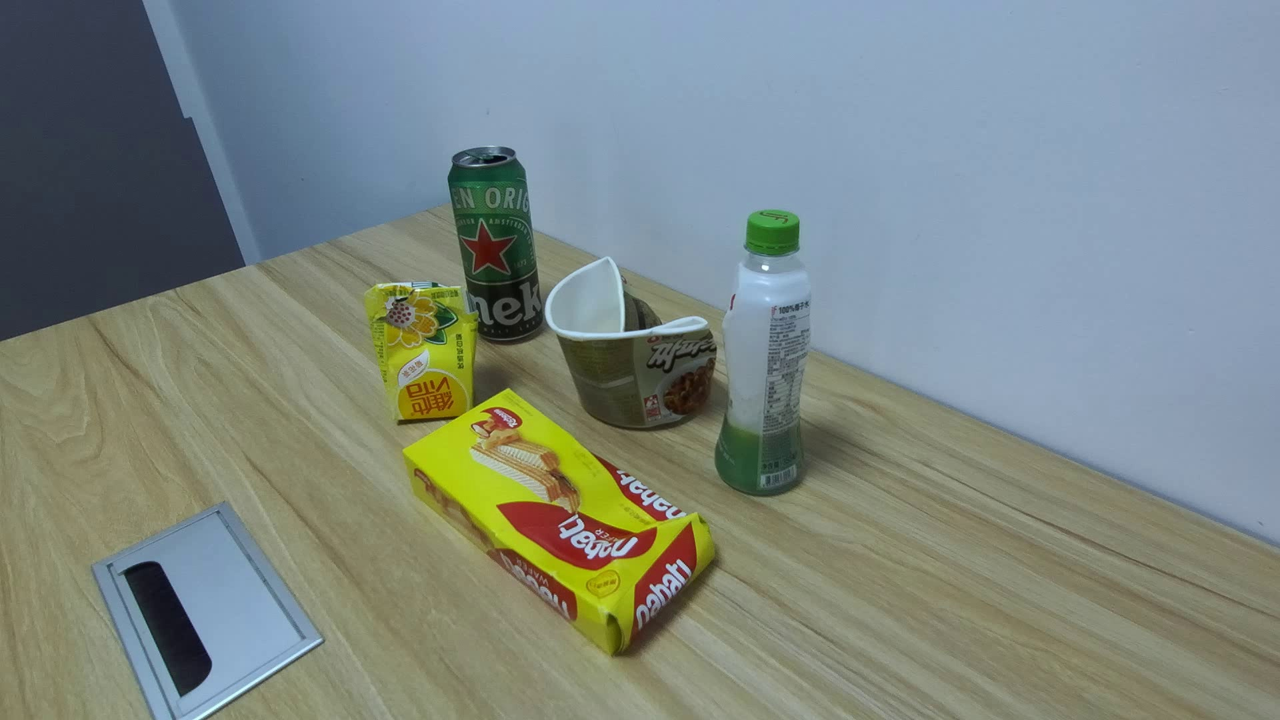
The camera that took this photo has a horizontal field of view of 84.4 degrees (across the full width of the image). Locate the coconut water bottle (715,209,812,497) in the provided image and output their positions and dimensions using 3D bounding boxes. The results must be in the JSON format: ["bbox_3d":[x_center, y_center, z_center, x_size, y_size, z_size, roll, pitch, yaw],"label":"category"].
[{"bbox_3d":[0.082,-0.004,0.458,0.069,0.186,0.069,-1,32,1],"label":"coconut water bottle"}]

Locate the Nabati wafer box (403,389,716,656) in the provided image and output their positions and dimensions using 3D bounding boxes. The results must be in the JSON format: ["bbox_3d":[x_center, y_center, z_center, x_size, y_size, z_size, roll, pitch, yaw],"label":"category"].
[{"bbox_3d":[-0.052,0.093,0.459,0.203,0.042,0.107,28,45,35],"label":"Nabati wafer box"}]

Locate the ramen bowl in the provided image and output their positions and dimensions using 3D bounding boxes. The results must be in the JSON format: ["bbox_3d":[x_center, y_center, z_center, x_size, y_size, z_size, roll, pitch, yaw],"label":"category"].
[{"bbox_3d":[-0.007,-0.013,0.564,0.137,0.098,0.137,-2,32,1],"label":"ramen bowl"}]

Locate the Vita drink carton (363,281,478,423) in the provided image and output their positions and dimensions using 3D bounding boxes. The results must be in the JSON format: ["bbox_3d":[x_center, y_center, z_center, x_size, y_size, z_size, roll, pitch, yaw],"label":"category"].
[{"bbox_3d":[-0.172,-0.011,0.567,0.087,0.108,0.042,-3,18,-7],"label":"Vita drink carton"}]

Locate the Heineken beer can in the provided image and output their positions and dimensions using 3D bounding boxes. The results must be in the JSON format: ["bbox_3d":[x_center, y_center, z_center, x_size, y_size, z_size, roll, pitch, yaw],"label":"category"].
[{"bbox_3d":[-0.128,-0.101,0.643,0.067,0.169,0.067,-2,32,1],"label":"Heineken beer can"}]
